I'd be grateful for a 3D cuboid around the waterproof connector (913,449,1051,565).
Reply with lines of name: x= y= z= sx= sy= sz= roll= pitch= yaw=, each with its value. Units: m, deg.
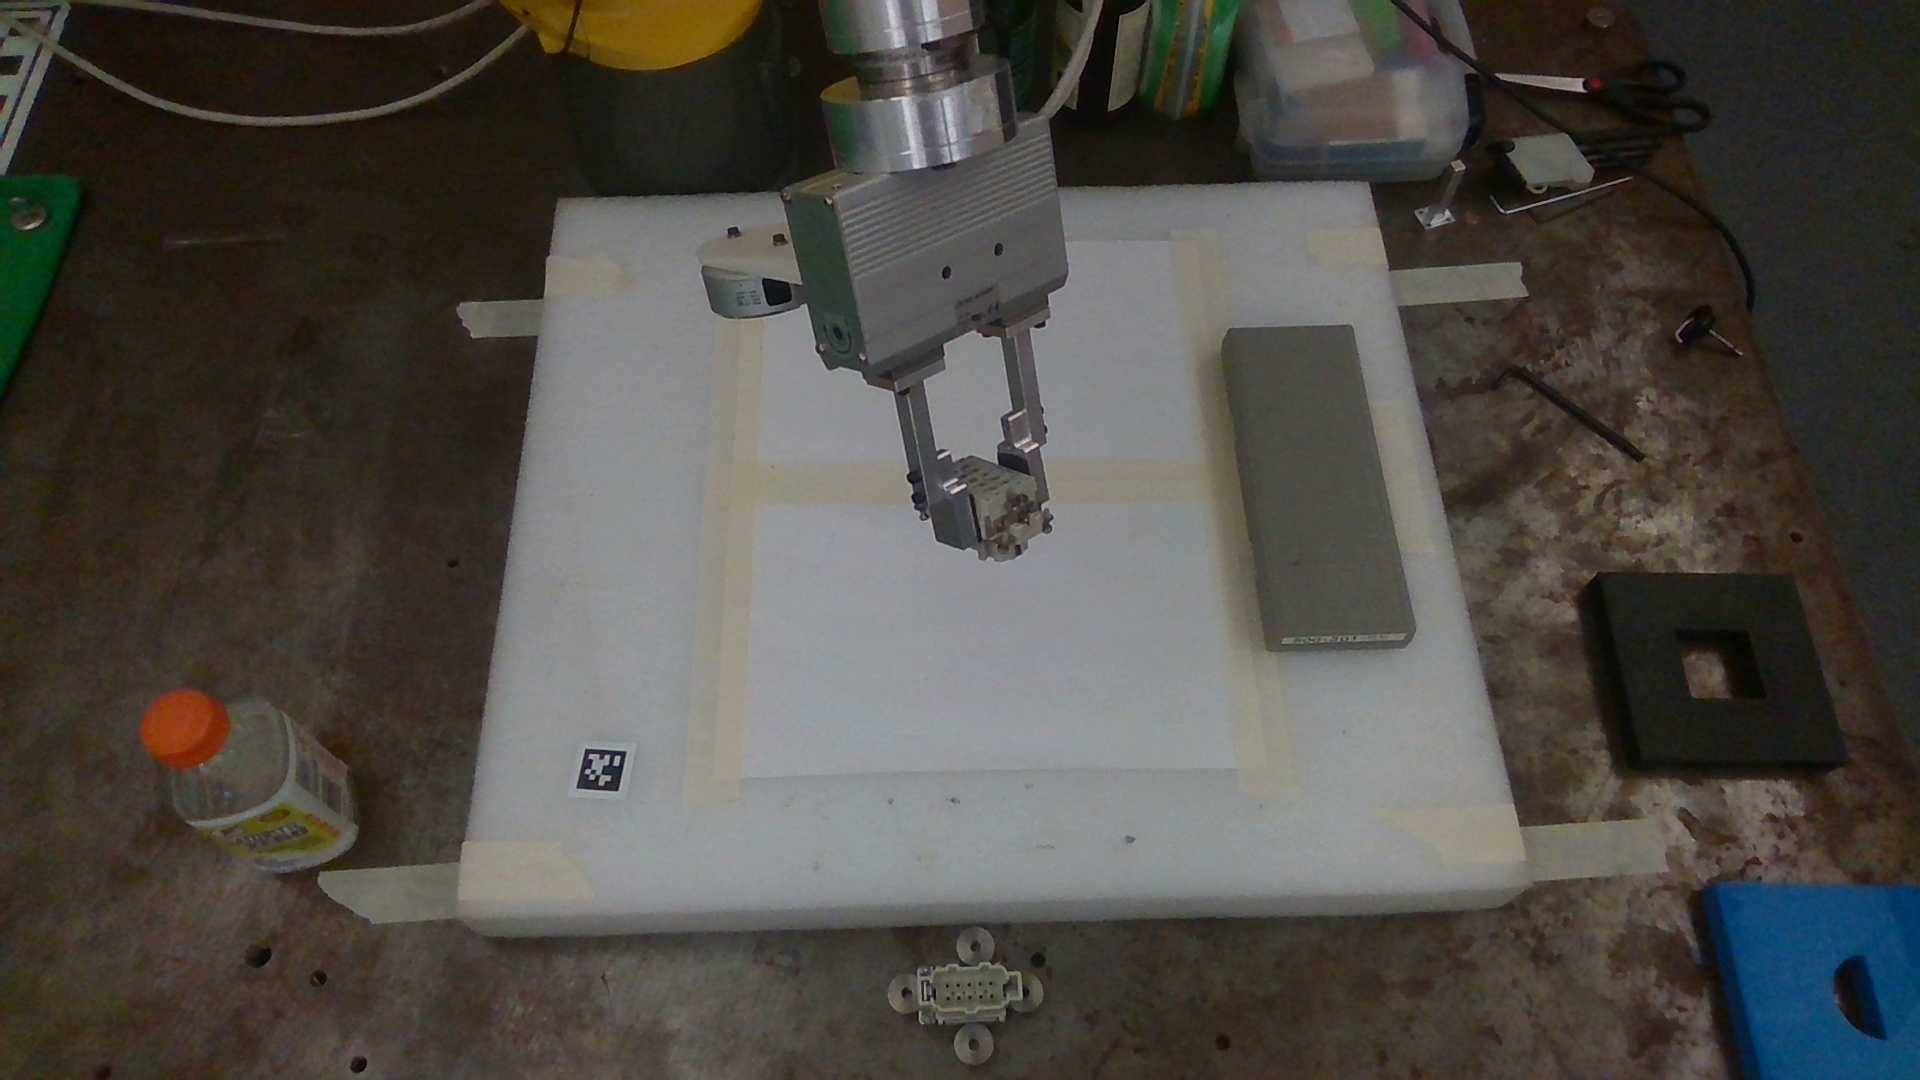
waterproof connector: x=0.011 y=-0.015 z=0.657 sx=0.036 sy=0.038 sz=0.069 roll=-29 pitch=35 yaw=-29
